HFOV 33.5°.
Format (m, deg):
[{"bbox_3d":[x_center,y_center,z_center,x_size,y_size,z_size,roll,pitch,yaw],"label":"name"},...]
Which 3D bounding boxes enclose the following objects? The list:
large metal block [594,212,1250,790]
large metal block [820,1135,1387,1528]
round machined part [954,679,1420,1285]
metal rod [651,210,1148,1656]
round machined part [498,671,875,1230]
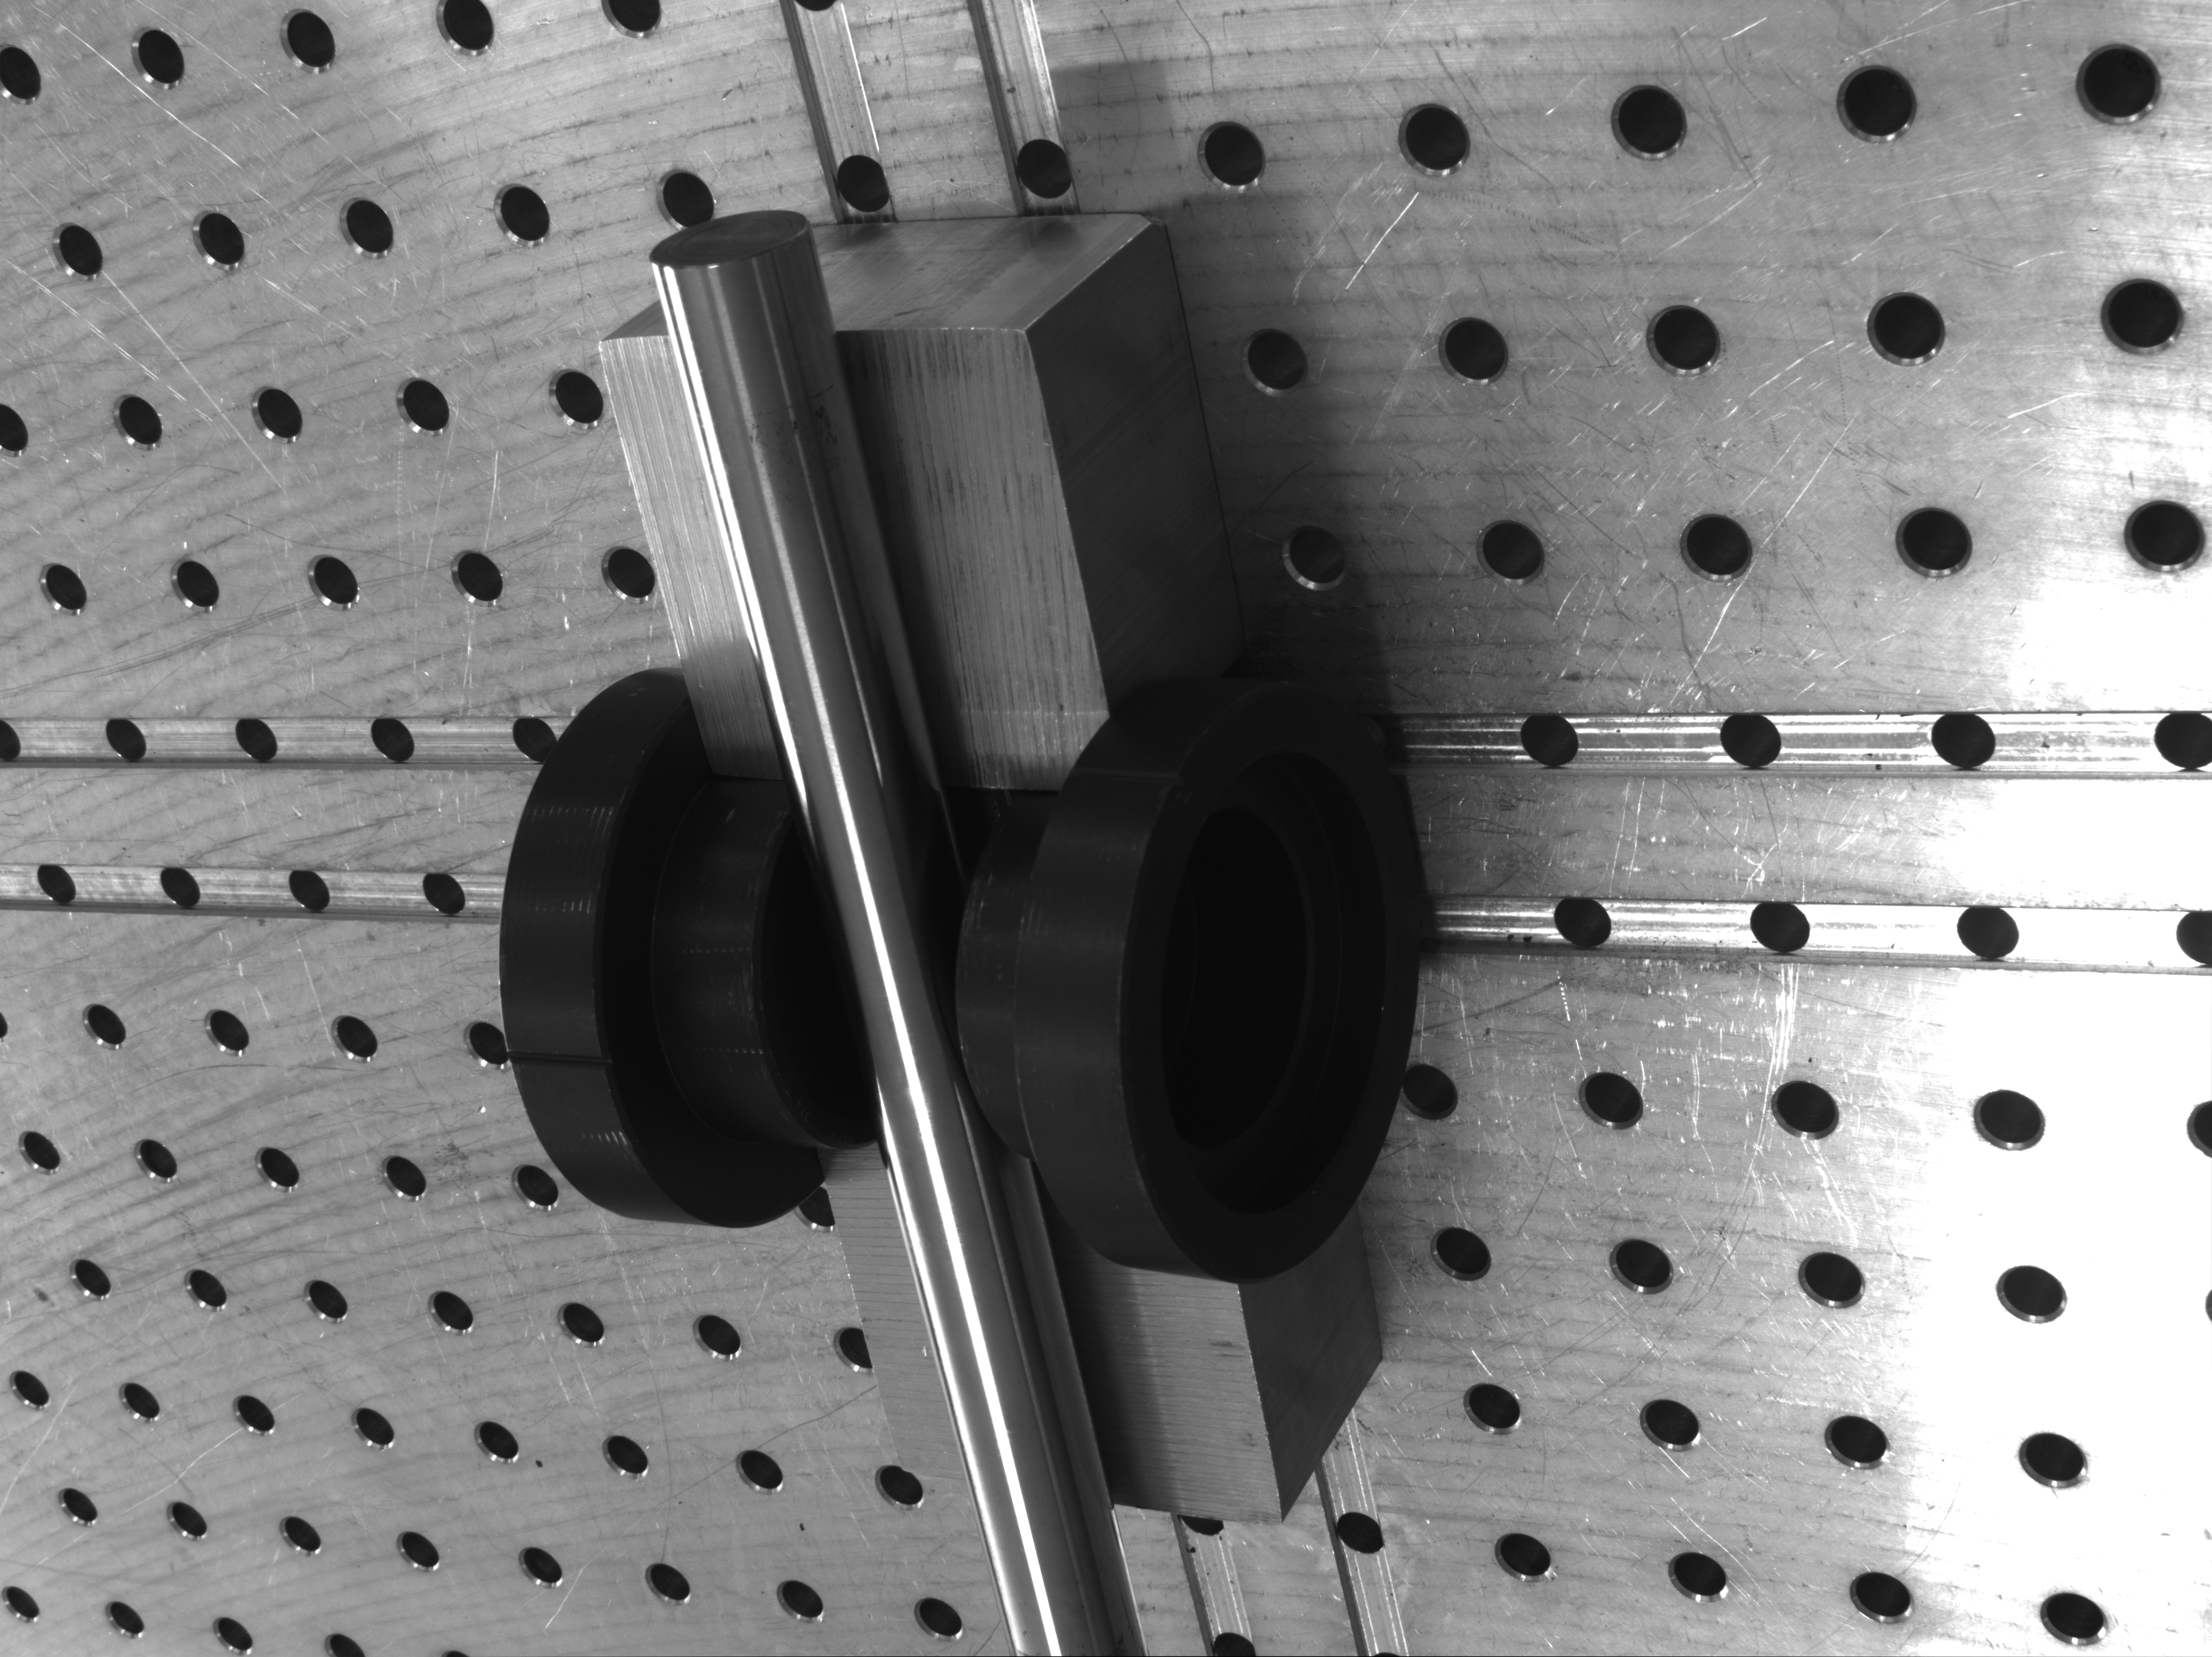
[{"bbox_3d":[-0.029,-0.054,0.612,0.080,0.050,0.080,2,119,27],"label":"large metal block"},{"bbox_3d":[0.000,0.076,0.676,0.080,0.050,0.080,3,120,27],"label":"large metal block"},{"bbox_3d":[0.011,0.024,0.607,0.042,0.098,0.098,4,120,32],"label":"round machined part"},{"bbox_3d":[-0.028,0.042,0.623,0.025,0.025,0.300,2,120,27],"label":"metal rod"},{"bbox_3d":[-0.060,0.021,0.643,0.042,0.098,0.098,2,119,28],"label":"round machined part"}]
